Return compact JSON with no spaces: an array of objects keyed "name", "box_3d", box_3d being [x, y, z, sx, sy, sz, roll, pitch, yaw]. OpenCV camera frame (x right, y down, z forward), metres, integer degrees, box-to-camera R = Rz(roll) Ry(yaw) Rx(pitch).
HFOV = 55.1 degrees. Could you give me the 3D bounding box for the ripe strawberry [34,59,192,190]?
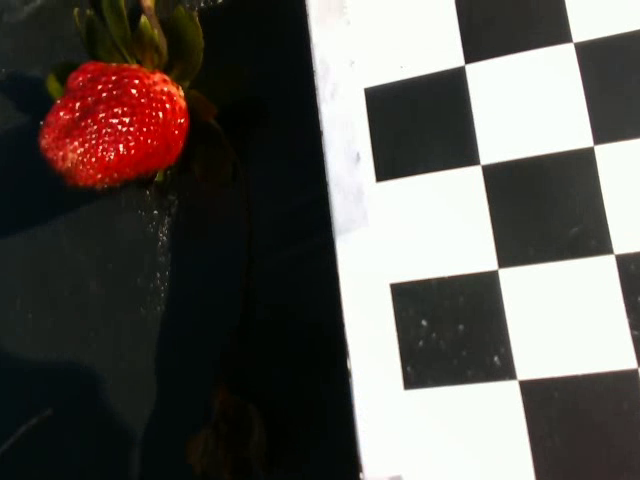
[{"name":"ripe strawberry","box_3d":[-0.021,-0.012,0.061,0.015,0.015,0.023,0,30,10]}]
